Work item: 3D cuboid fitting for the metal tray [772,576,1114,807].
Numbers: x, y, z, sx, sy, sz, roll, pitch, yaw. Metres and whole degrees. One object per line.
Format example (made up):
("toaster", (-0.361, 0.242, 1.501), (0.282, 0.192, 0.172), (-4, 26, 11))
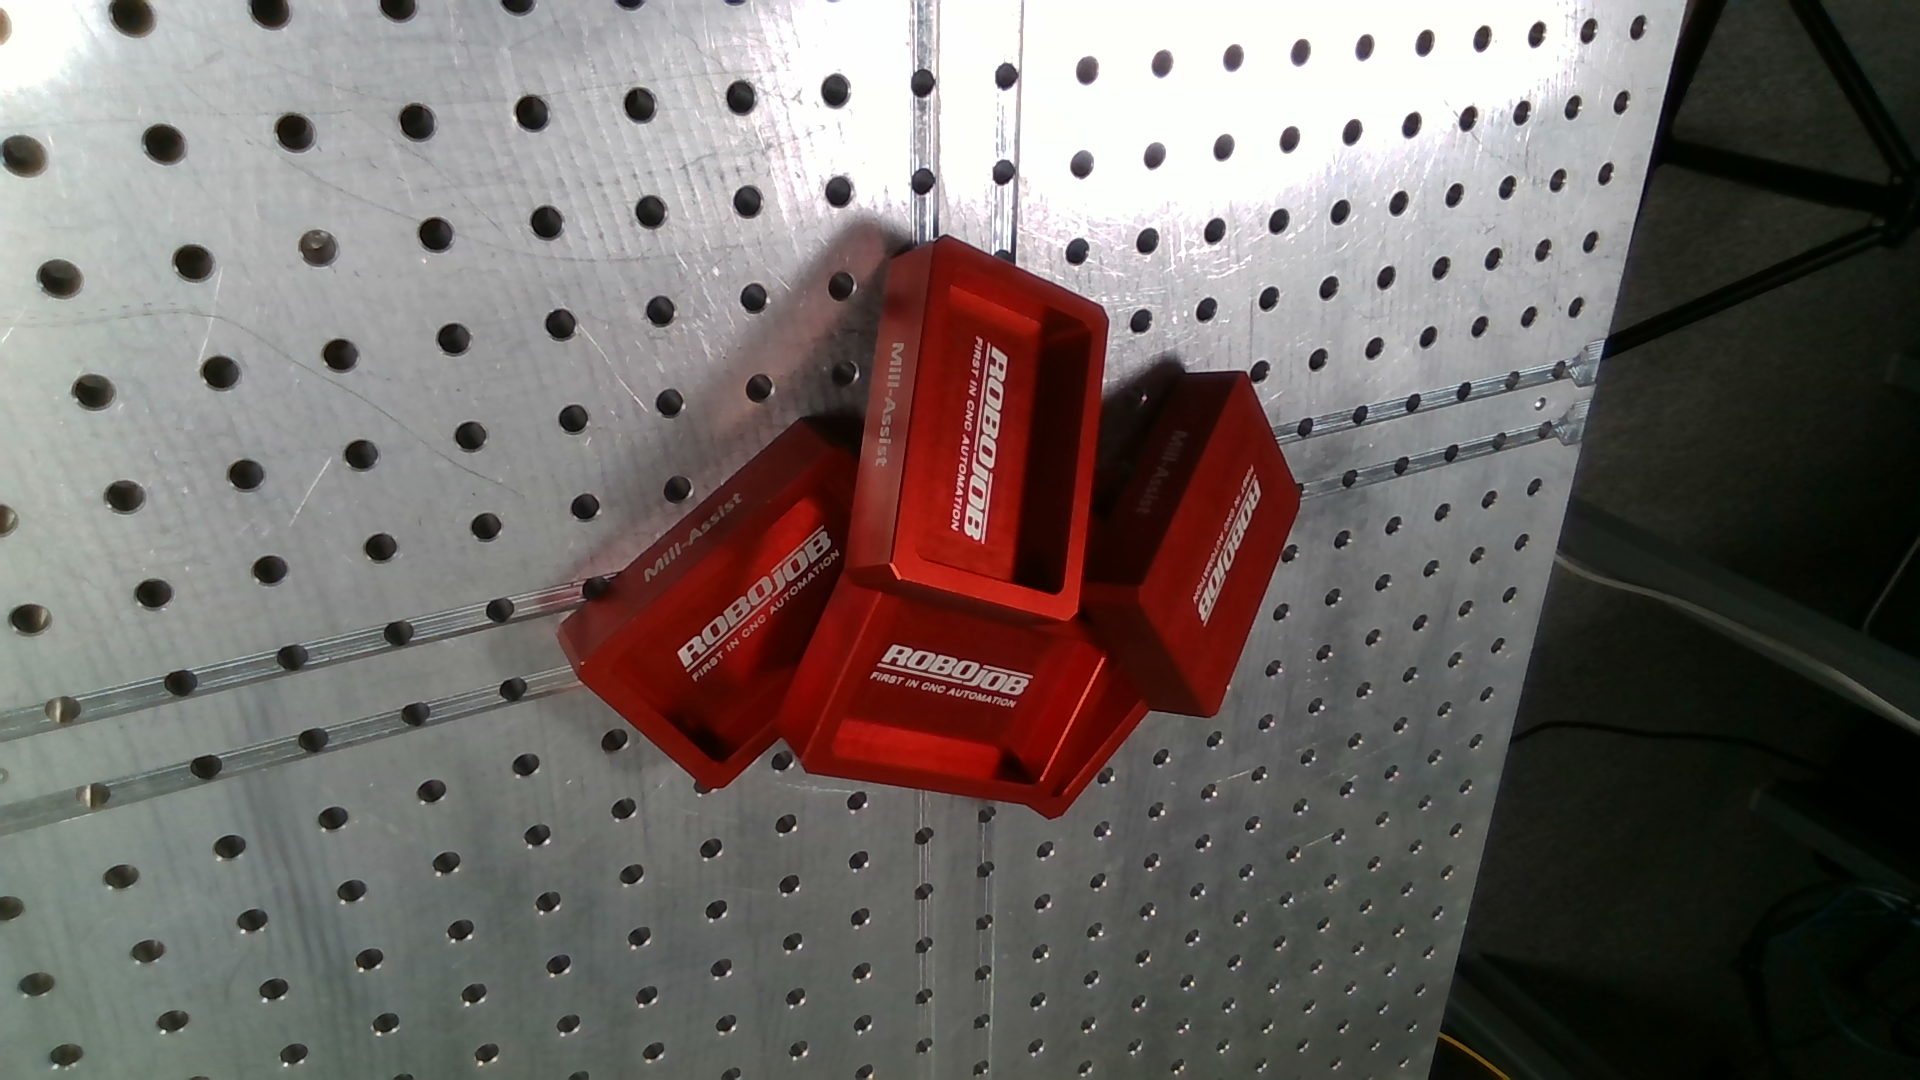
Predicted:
("metal tray", (-0.002, 0.059, 0.572), (0.130, 0.030, 0.090), (16, 106, -36))

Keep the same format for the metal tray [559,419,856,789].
("metal tray", (-0.079, 0.027, 0.546), (0.130, 0.030, 0.090), (-42, 129, -5))

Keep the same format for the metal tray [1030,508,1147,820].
("metal tray", (0.053, 0.059, 0.644), (0.130, 0.030, 0.090), (-50, 129, 1))

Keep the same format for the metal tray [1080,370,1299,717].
("metal tray", (0.104, 0.000, 0.606), (0.090, 0.030, 0.130), (55, 51, -39))

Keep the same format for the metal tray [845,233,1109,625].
("metal tray", (0.009, -0.039, 0.525), (0.090, 0.030, 0.130), (16, 75, -37))
